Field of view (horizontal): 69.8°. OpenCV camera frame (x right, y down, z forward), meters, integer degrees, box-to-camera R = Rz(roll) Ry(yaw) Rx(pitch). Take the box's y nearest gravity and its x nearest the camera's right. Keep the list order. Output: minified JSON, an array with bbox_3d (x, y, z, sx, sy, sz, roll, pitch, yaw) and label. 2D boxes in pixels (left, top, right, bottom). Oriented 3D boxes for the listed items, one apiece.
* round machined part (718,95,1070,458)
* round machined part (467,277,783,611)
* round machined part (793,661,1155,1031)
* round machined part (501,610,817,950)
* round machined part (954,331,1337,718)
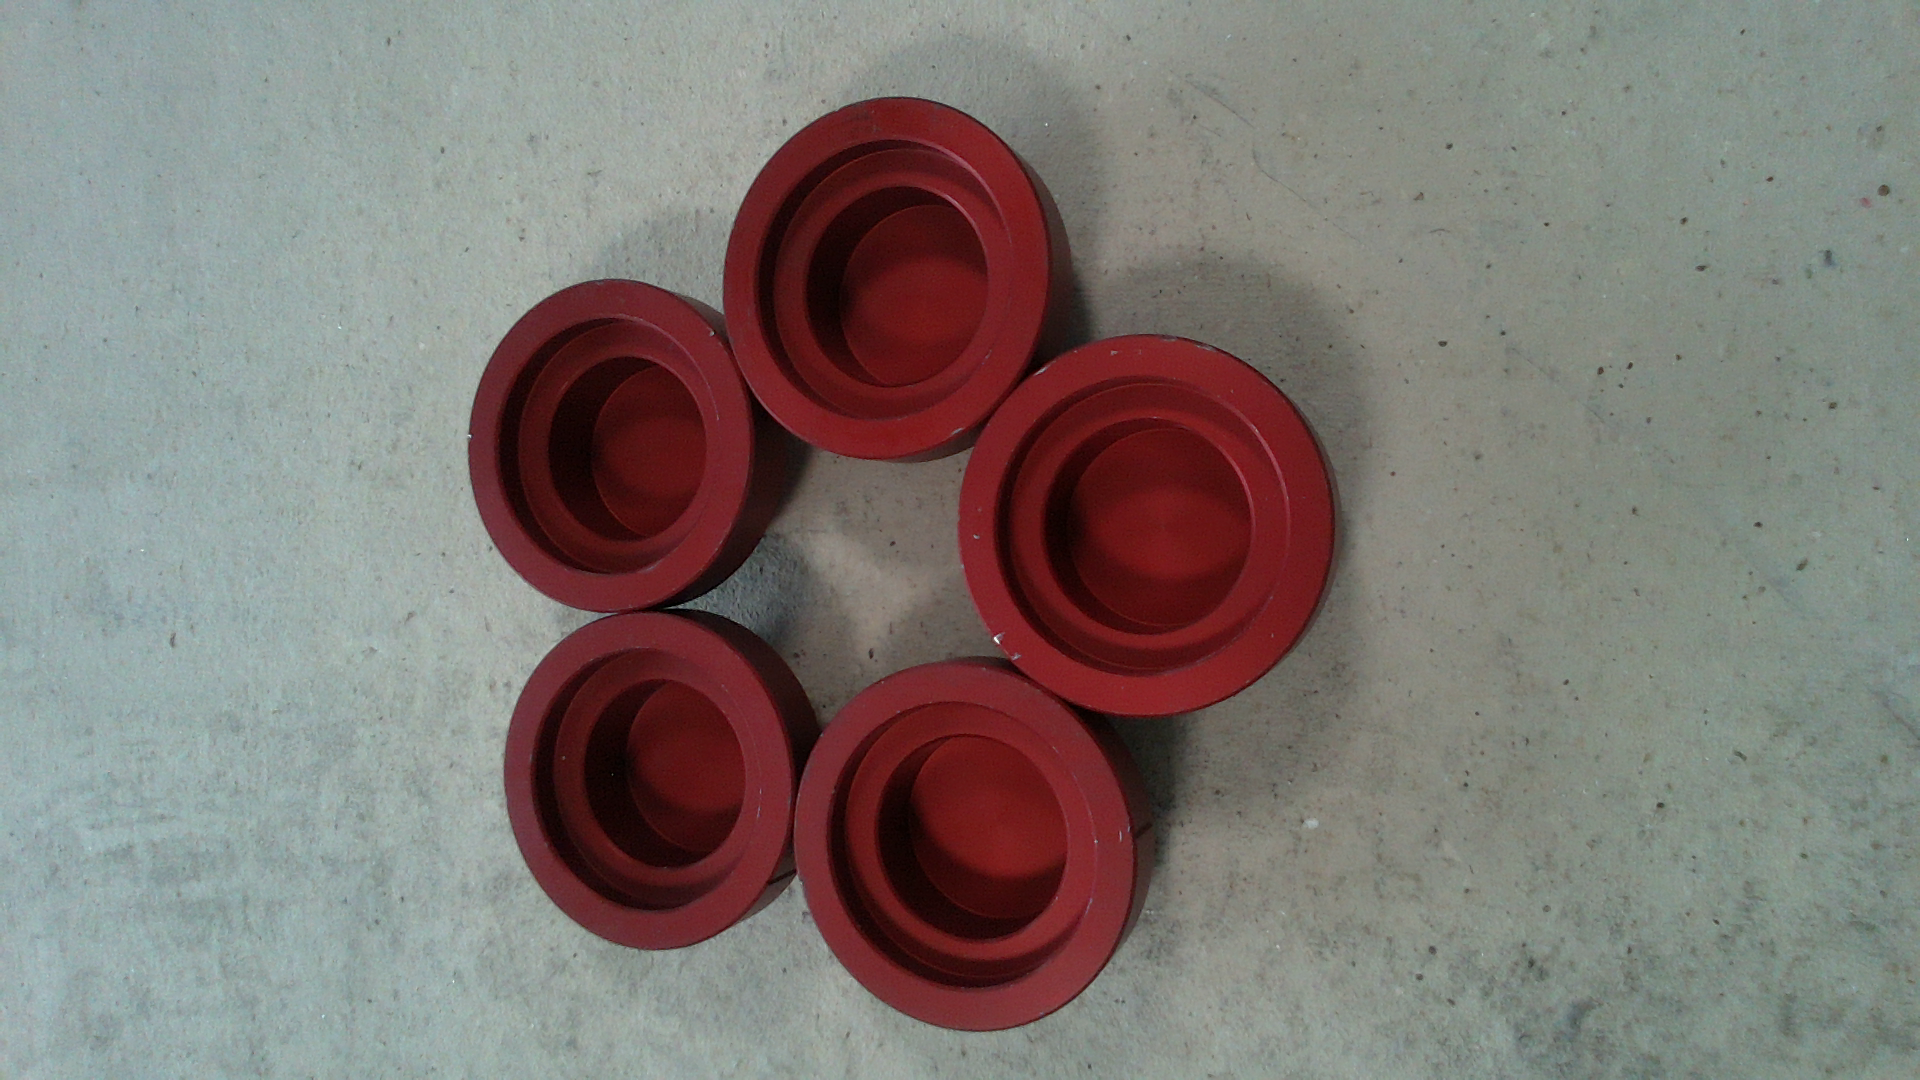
[{"bbox_3d":[-0.016,-0.071,0.392,0.098,0.042,0.098,0,89,19],"label":"round machined part"},{"bbox_3d":[-0.098,-0.028,0.422,0.098,0.042,0.098,-1,88,20],"label":"round machined part"},{"bbox_3d":[0.006,0.082,0.385,0.098,0.042,0.098,0,89,19],"label":"round machined part"},{"bbox_3d":[-0.085,0.070,0.417,0.098,0.042,0.098,0,89,19],"label":"round machined part"},{"bbox_3d":[0.051,-0.004,0.368,0.098,0.042,0.098,0,89,19],"label":"round machined part"}]
